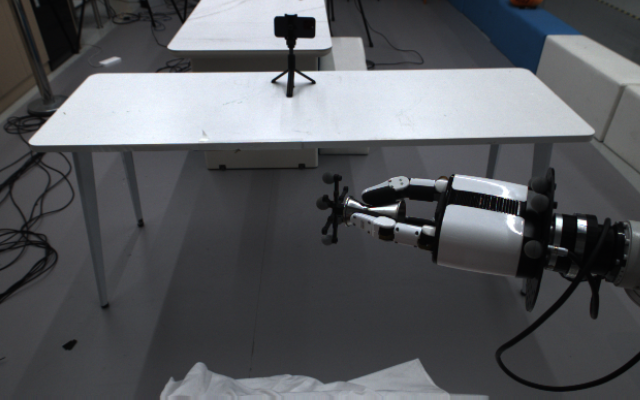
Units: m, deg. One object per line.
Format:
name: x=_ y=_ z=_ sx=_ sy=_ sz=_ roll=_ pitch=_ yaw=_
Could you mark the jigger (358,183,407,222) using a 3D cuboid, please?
jigger: x=0.073 y=0.014 z=0.595 sx=0.071 sy=0.043 sz=0.043 roll=6 pitch=34 yaw=22
